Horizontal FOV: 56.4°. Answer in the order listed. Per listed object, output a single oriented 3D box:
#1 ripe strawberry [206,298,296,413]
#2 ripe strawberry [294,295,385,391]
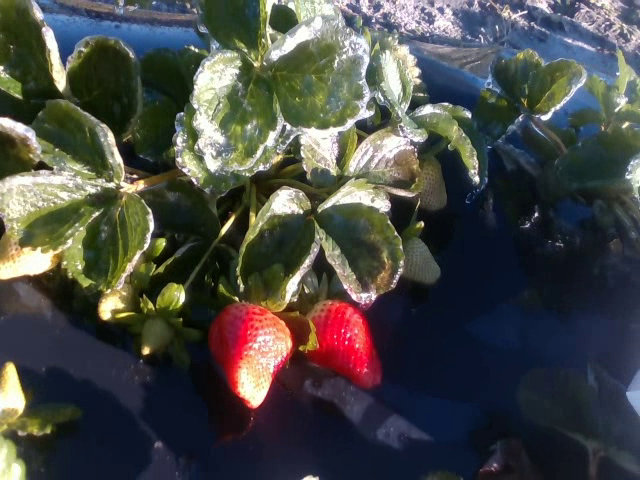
[{"bbox_3d":[-0.035,0.067,0.331,0.052,0.070,0.040,19,-32,-26],"label":"ripe strawberry"},{"bbox_3d":[0.017,0.060,0.346,0.043,0.059,0.040,-35,-6,-30],"label":"ripe strawberry"}]
